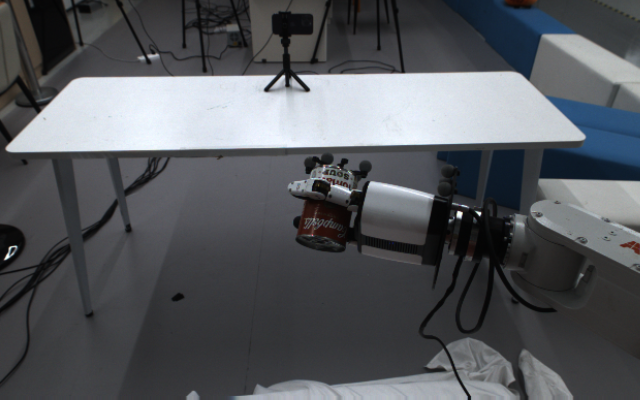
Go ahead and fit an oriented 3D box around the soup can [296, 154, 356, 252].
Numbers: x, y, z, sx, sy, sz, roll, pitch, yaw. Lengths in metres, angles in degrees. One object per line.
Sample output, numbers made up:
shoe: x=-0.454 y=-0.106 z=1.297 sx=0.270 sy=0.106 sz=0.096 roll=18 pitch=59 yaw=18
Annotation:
soup can: x=0.011 y=0.012 z=0.646 sx=0.067 sy=0.067 sz=0.101 roll=9 pitch=71 yaw=9
